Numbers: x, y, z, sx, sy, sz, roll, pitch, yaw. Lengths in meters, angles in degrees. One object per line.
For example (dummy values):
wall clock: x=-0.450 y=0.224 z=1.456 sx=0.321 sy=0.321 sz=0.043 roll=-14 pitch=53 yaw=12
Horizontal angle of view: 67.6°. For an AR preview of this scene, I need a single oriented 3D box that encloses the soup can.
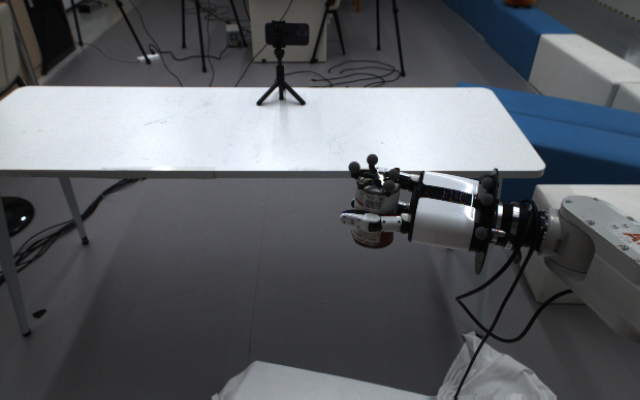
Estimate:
soup can: x=0.086 y=0.015 z=0.748 sx=0.067 sy=0.101 sz=0.067 roll=2 pitch=32 yaw=-1
